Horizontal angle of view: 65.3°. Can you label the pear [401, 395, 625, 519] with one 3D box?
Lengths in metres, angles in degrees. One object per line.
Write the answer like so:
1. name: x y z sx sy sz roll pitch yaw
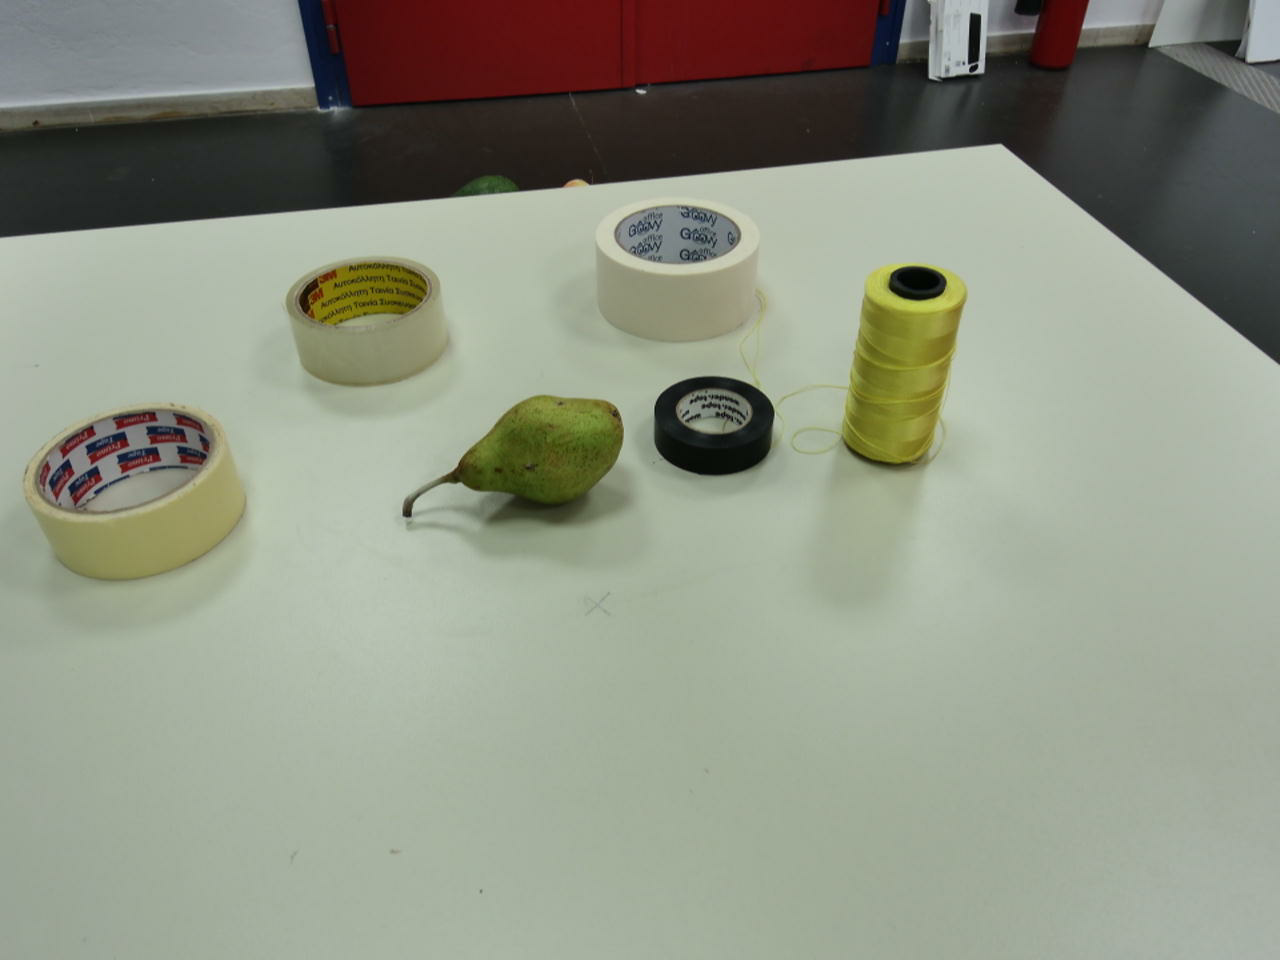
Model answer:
1. pear: -0.064 -0.016 0.503 0.111 0.056 0.056 1 39 2
